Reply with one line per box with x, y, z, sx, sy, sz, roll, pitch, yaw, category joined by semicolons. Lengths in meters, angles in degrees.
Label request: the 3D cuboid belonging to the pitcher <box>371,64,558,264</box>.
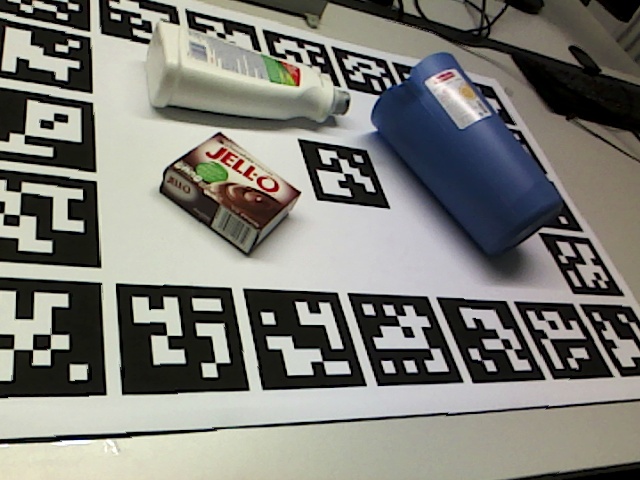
0.187;-0.092;0.800;0.243;0.133;0.188;56;12;16;pitcher

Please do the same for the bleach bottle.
-0.073;-0.185;0.751;0.249;0.068;0.103;3;55;-32;bleach bottle

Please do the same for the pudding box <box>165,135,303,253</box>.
-0.086;-0.049;0.627;0.114;0.039;0.090;39;37;4;pudding box
